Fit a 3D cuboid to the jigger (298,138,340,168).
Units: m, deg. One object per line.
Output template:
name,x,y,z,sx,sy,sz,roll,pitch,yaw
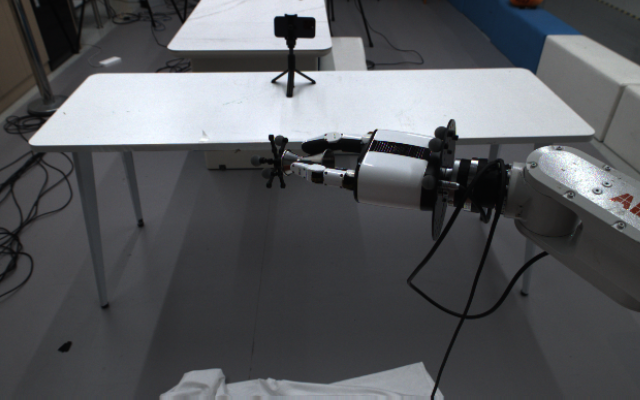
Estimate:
jigger,-0.010,-0.060,0.703,0.071,0.043,0.043,3,32,26
